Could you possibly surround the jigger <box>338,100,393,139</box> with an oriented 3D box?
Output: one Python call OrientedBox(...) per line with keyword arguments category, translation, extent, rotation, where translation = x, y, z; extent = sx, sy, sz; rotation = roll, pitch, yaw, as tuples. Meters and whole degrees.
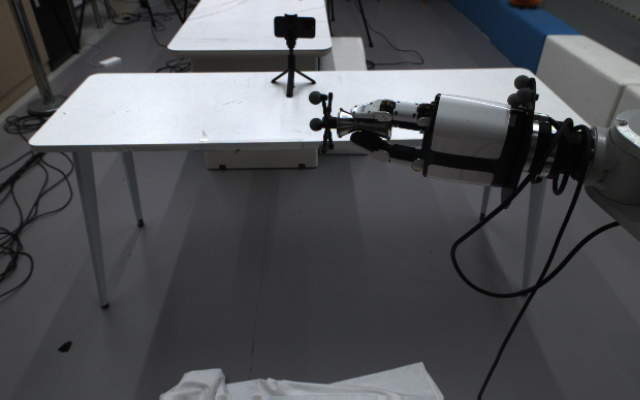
OrientedBox(category="jigger", translation=(0.066, -0.106, 0.646), extent=(0.071, 0.043, 0.043), rotation=(3, 34, 14))
